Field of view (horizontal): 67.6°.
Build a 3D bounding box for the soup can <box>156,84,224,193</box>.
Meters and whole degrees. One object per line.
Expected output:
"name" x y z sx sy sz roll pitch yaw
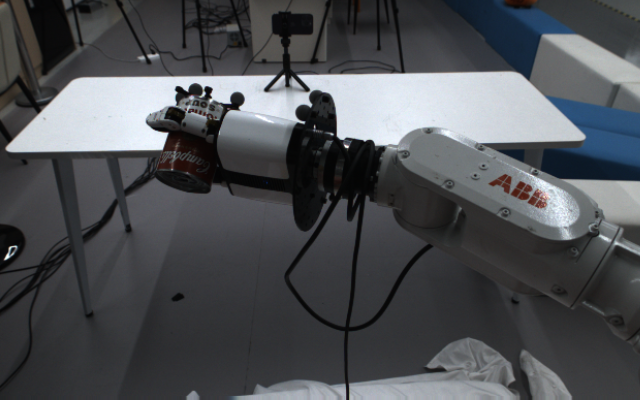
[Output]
"soup can" -0.152 -0.066 0.587 0.067 0.067 0.101 8 71 9
